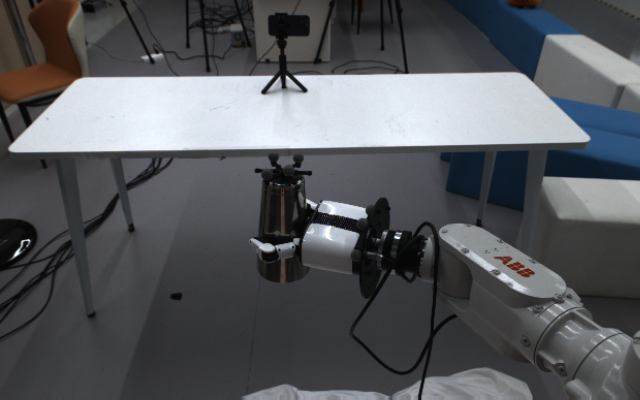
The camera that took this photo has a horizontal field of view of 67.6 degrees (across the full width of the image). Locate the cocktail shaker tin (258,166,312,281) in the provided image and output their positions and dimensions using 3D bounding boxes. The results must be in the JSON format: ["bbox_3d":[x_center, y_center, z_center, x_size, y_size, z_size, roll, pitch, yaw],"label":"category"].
[{"bbox_3d":[-0.059,0.038,0.789,0.093,0.170,0.093,2,28,-1],"label":"cocktail shaker tin"}]
